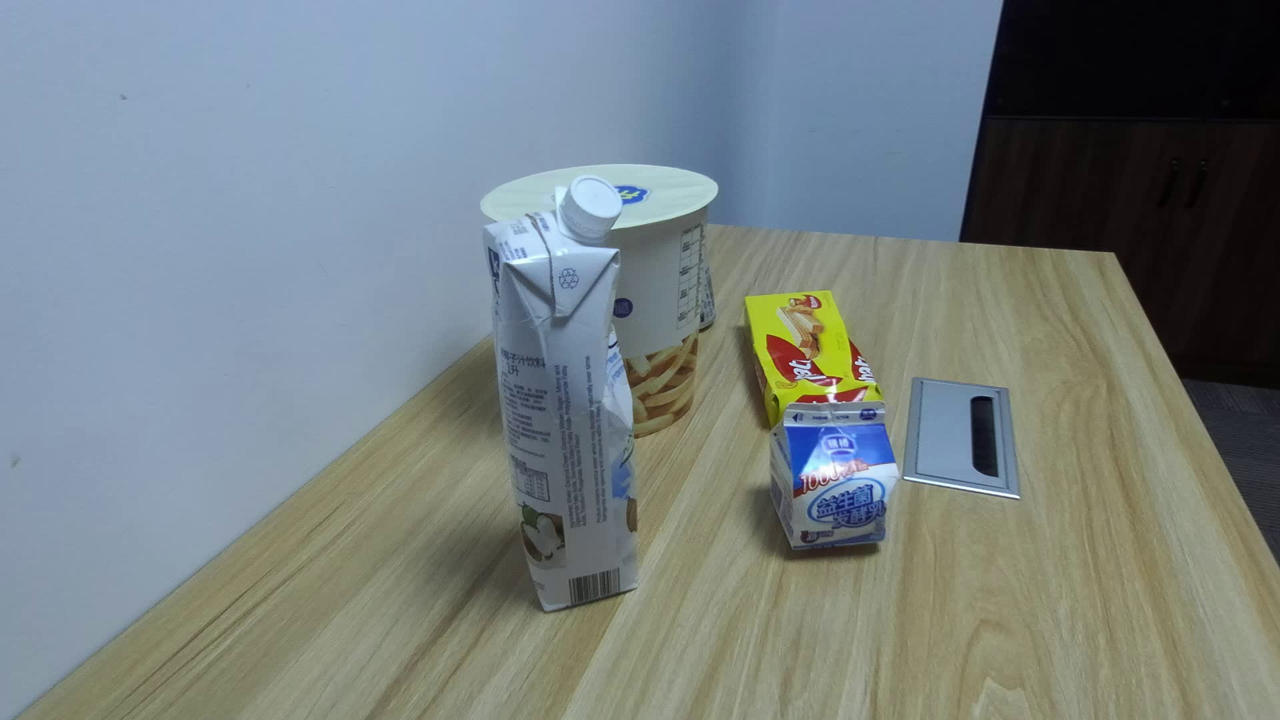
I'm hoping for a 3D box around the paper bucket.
[{"bbox_3d":[-0.027,-0.050,0.614,0.198,0.195,0.198,-3,29,2],"label":"paper bucket"}]

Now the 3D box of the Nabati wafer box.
[{"bbox_3d":[0.161,-0.004,0.671,0.107,0.042,0.204,-2,30,3],"label":"Nabati wafer box"}]

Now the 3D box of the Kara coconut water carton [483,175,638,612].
[{"bbox_3d":[-0.043,0.025,0.411,0.078,0.256,0.083,-3,29,-2],"label":"Kara coconut water carton"}]

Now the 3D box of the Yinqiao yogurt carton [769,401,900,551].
[{"bbox_3d":[0.130,0.070,0.473,0.074,0.097,0.080,-4,22,-3],"label":"Yinqiao yogurt carton"}]
